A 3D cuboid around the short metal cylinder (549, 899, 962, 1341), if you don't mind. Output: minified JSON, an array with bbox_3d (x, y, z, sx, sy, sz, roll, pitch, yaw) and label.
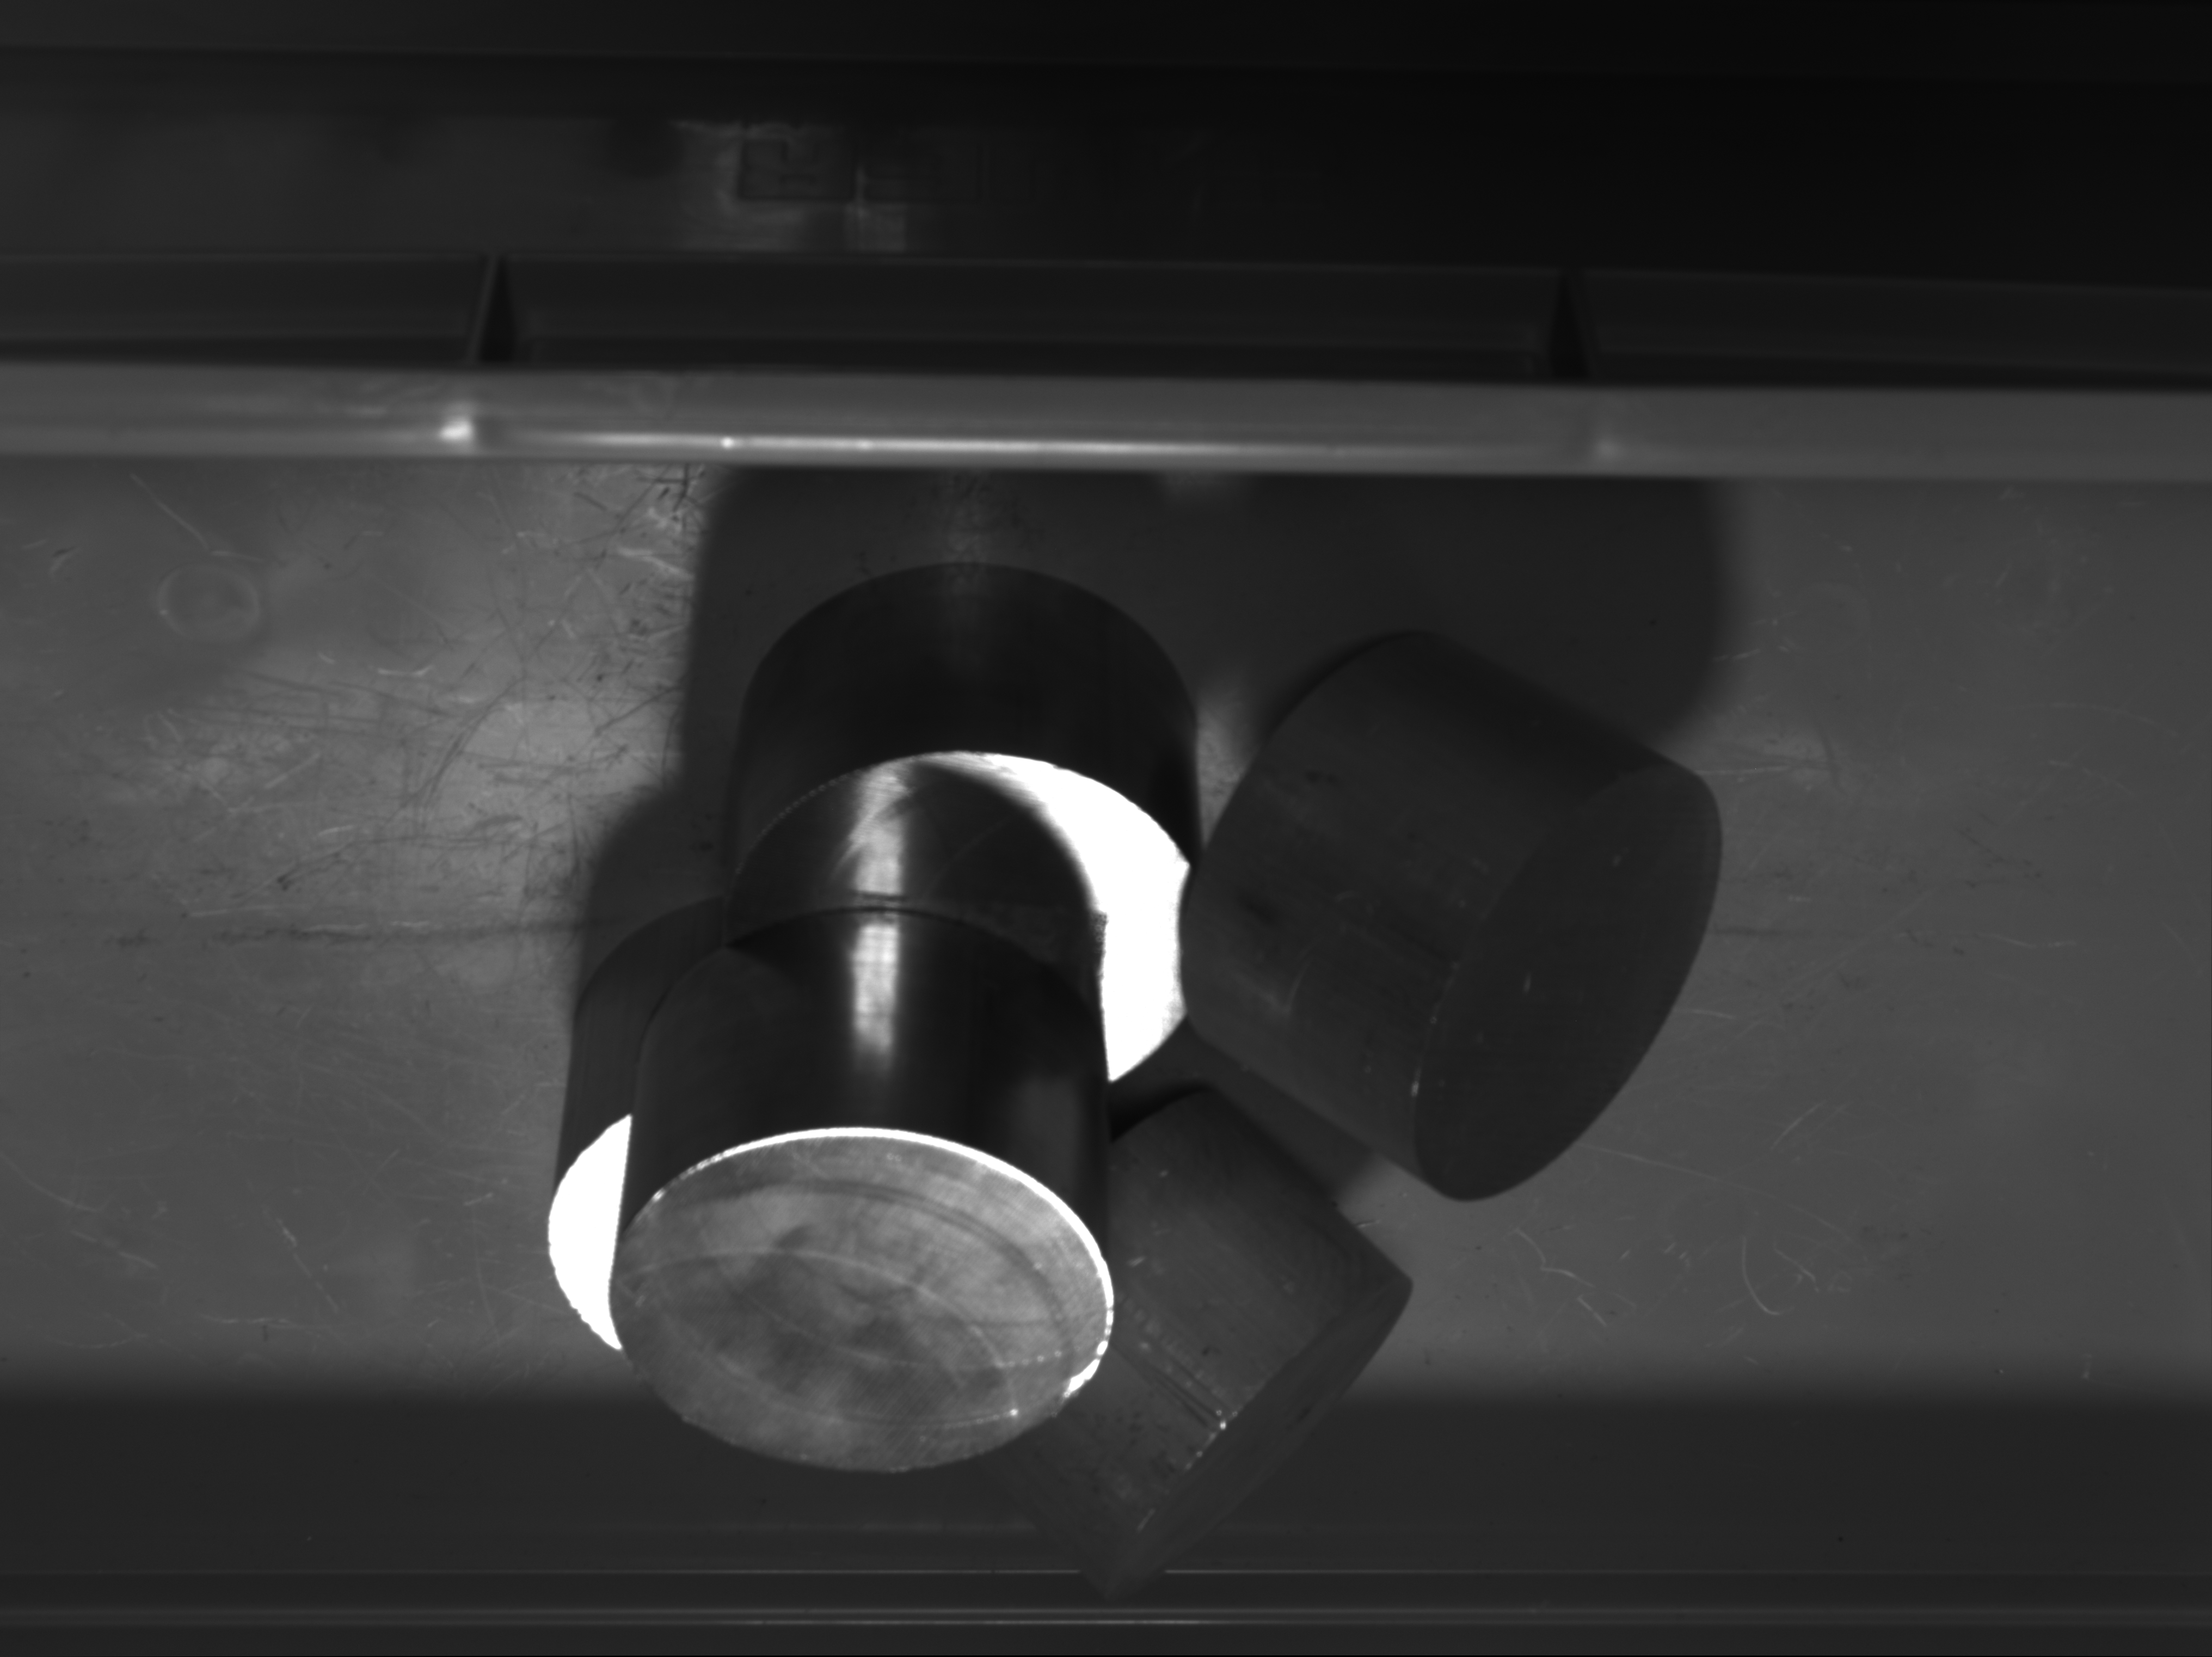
[{"bbox_3d":[-0.059,0.058,0.668,0.080,0.050,0.080,-1,130,-1],"label":"short metal cylinder"}]

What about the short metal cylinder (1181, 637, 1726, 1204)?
[{"bbox_3d":[0.058,0.015,0.608,0.080,0.050,0.080,-33,139,-33],"label":"short metal cylinder"}]

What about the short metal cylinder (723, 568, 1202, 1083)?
[{"bbox_3d":[-0.023,0.003,0.622,0.080,0.050,0.080,-1,130,-1],"label":"short metal cylinder"}]

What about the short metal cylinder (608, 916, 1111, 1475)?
[{"bbox_3d":[-0.040,0.061,0.603,0.080,0.050,0.080,-1,130,-1],"label":"short metal cylinder"}]

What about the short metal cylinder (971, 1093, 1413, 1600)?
[{"bbox_3d":[0.011,0.095,0.672,0.050,0.080,0.080,43,127,17],"label":"short metal cylinder"}]
